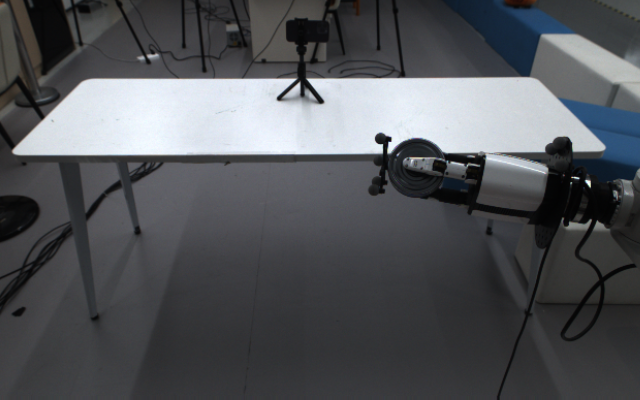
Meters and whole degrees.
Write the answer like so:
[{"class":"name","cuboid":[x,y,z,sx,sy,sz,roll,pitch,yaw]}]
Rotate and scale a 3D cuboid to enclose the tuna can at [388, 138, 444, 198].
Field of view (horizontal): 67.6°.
[{"class":"tuna can","cuboid":[0.147,-0.045,0.717,0.085,0.085,0.034,9,-7,10]}]
